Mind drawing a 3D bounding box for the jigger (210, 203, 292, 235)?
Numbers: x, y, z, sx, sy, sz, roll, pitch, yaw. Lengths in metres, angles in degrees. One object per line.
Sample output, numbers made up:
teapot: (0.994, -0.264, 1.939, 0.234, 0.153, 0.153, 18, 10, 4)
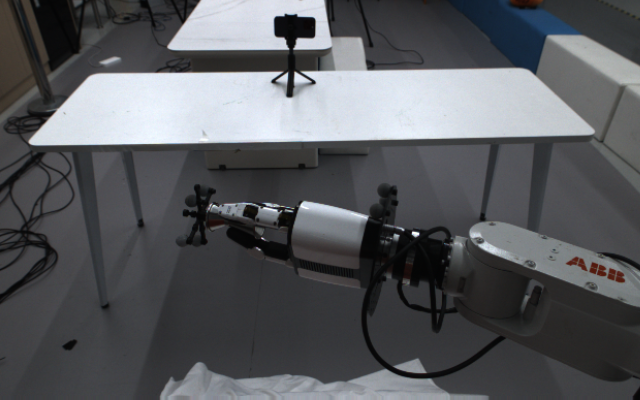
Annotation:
jigger: (-0.103, 0.022, 0.628, 0.071, 0.043, 0.043, 6, 35, 13)
